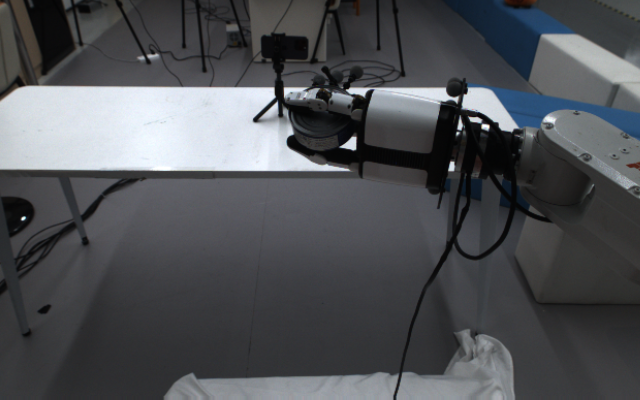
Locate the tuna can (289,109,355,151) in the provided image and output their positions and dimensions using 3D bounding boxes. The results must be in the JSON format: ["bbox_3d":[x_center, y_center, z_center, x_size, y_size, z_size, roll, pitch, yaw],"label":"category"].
[{"bbox_3d":[0.005,-0.107,0.623,0.085,0.034,0.085,-4,56,6],"label":"tuna can"}]
